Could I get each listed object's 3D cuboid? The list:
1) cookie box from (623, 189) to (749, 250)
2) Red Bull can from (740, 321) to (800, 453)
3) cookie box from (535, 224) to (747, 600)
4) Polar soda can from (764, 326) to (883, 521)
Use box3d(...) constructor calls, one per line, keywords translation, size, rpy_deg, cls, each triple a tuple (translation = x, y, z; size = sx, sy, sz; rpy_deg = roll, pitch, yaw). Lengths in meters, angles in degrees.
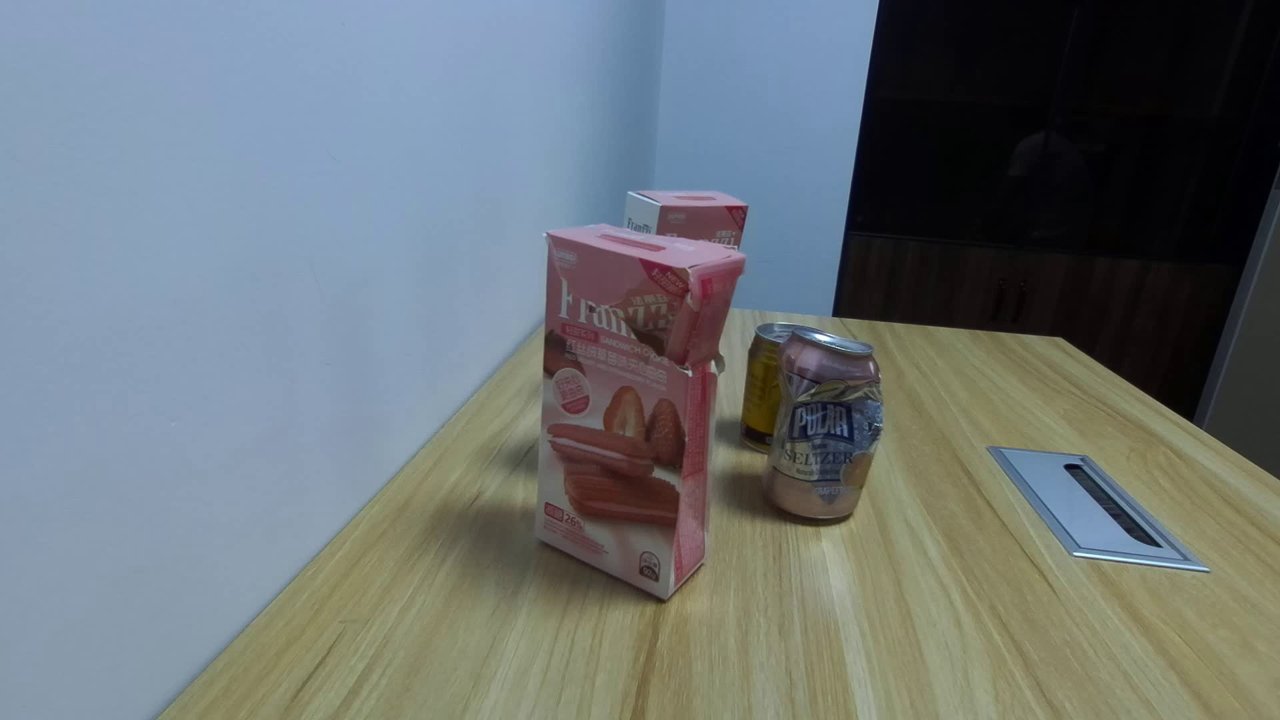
box3d(translation=(0.032, -0.050, 0.621), size=(0.105, 0.187, 0.048), rpy_deg=(-9, 31, -35), cls="cookie box")
box3d(translation=(0.120, 0.024, 0.574), size=(0.069, 0.092, 0.069), rpy_deg=(4, 17, -1), cls="Red Bull can")
box3d(translation=(-0.005, 0.027, 0.387), size=(0.104, 0.186, 0.060), rpy_deg=(18, 25, 33), cls="cookie box")
box3d(translation=(0.122, 0.042, 0.472), size=(0.071, 0.121, 0.066), rpy_deg=(3, 14, -5), cls="Polar soda can")
